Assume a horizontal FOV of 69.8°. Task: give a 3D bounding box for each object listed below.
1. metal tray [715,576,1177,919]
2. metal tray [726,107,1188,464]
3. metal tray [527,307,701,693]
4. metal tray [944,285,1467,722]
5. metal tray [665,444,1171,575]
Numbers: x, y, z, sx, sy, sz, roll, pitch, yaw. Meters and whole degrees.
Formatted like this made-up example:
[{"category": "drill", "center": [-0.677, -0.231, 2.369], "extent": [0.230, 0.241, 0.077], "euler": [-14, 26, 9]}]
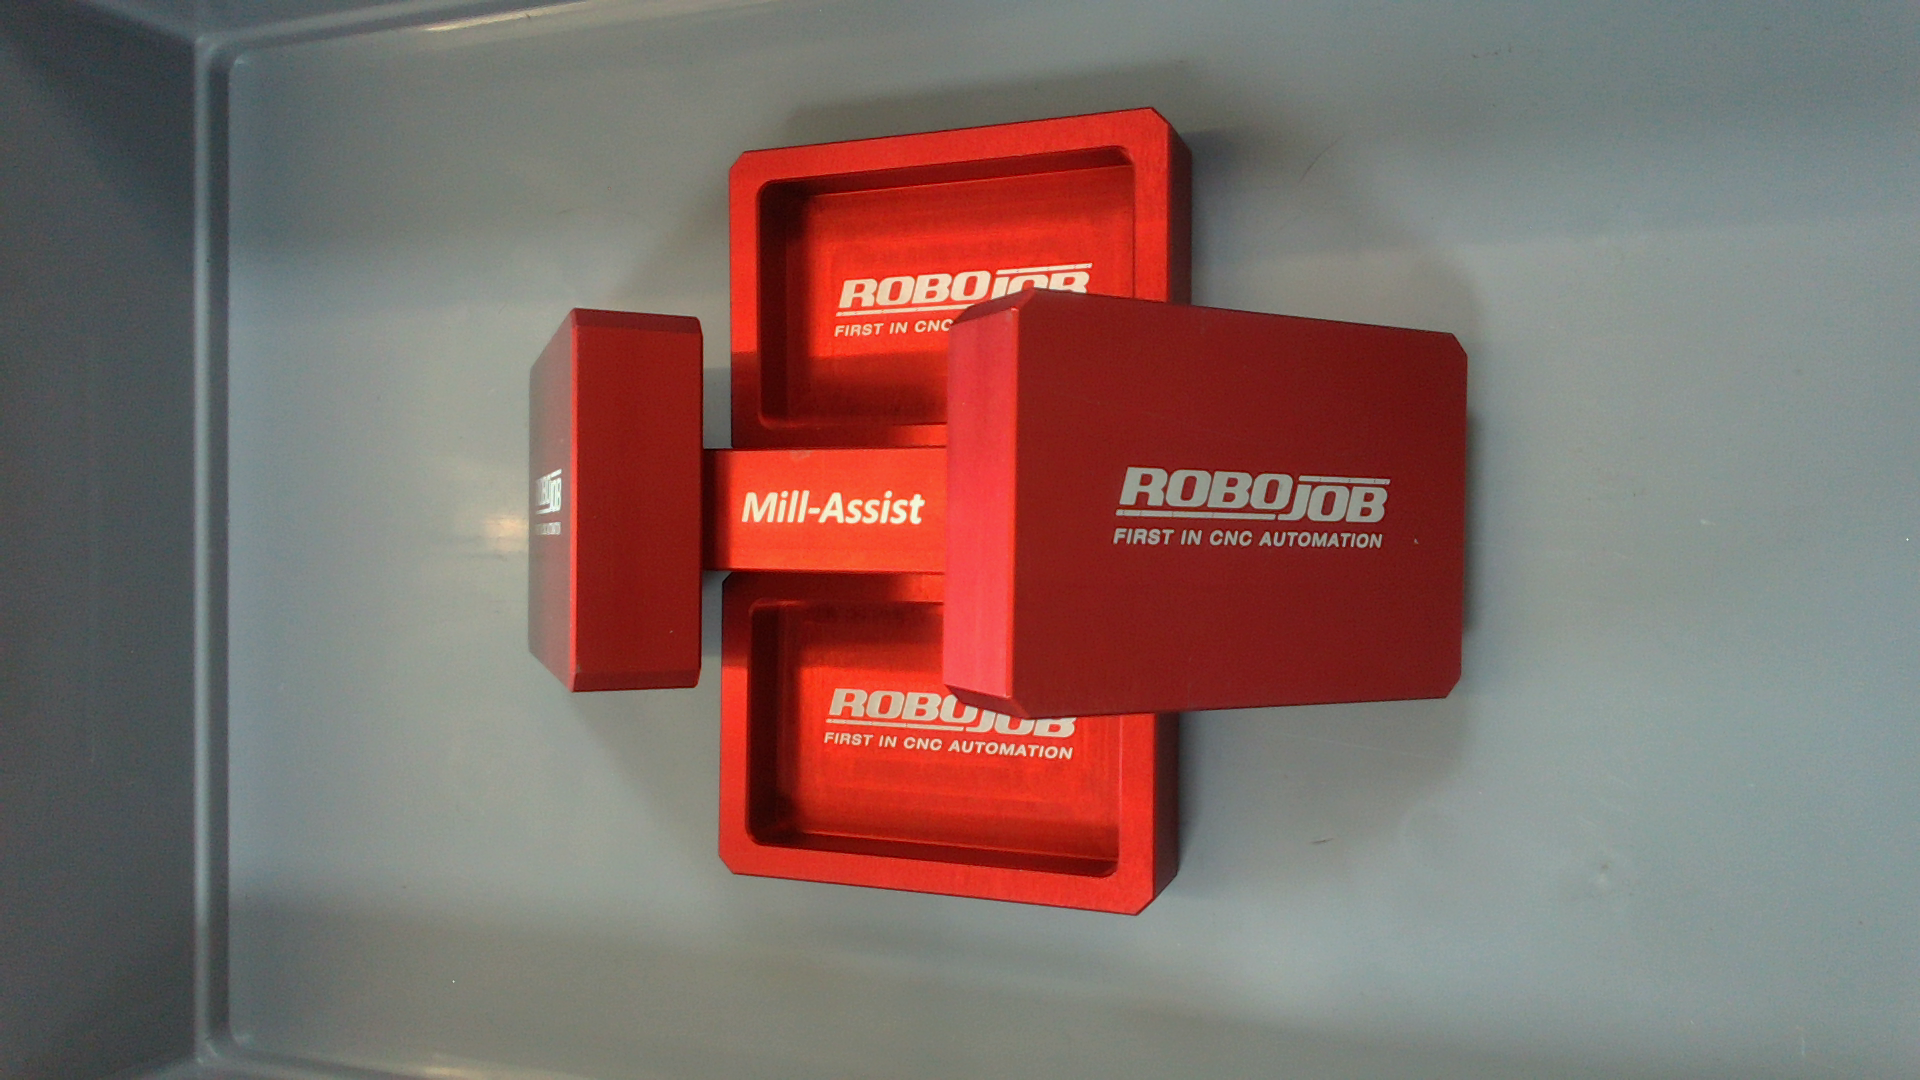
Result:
[{"category": "metal tray", "center": [-0.005, 0.054, 0.392], "extent": [0.130, 0.030, 0.090], "euler": [0, 90, 19]}, {"category": "metal tray", "center": [-0.002, -0.068, 0.392], "extent": [0.130, 0.030, 0.090], "euler": [0, 90, 19]}, {"category": "metal tray", "center": [-0.099, -0.009, 0.382], "extent": [0.030, 0.130, 0.090], "euler": [0, 90, -22]}, {"category": "metal tray", "center": [0.061, -0.007, 0.324], "extent": [0.030, 0.130, 0.090], "euler": [1, 90, 62]}, {"category": "metal tray", "center": [-0.016, -0.007, 0.366], "extent": [0.130, 0.090, 0.030], "euler": [0, 90, 19]}]
